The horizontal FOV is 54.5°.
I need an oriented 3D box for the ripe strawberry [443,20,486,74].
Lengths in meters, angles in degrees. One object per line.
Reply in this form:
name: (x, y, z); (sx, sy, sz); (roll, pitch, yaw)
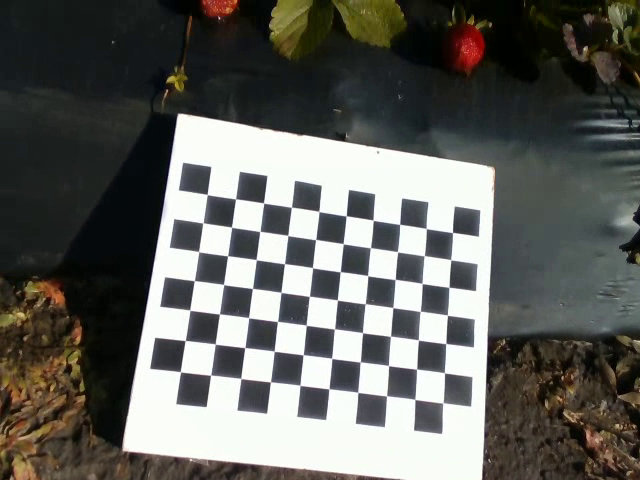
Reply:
ripe strawberry: (0.121, -0.149, 0.511); (0.043, 0.042, 0.050); (-46, 2, 29)

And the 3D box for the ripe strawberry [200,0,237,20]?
ripe strawberry: (-0.081, -0.189, 0.497); (0.041, 0.043, 0.053); (20, 34, -8)
